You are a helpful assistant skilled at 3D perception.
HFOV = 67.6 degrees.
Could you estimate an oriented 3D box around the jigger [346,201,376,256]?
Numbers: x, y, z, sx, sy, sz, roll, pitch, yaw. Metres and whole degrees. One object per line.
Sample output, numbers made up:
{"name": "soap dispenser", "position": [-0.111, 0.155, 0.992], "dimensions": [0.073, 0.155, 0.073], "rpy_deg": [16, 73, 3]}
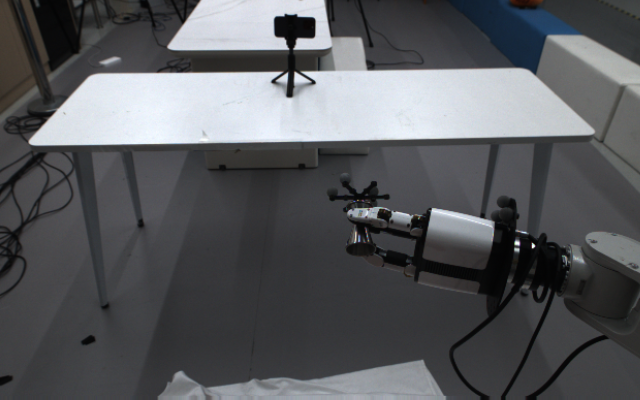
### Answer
{"name": "jigger", "position": [0.057, 0.036, 0.682], "dimensions": [0.043, 0.043, 0.071], "rpy_deg": [2, 59, -1]}
